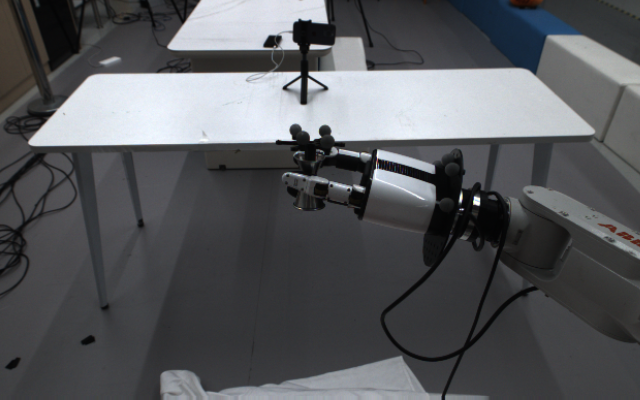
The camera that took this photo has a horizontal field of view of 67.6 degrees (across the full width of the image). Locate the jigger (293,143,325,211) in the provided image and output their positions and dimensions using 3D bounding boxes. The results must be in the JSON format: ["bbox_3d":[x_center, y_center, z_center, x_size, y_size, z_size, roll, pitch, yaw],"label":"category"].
[{"bbox_3d":[-0.014,-0.026,0.645,0.043,0.071,0.043,1,20,0],"label":"jigger"}]
